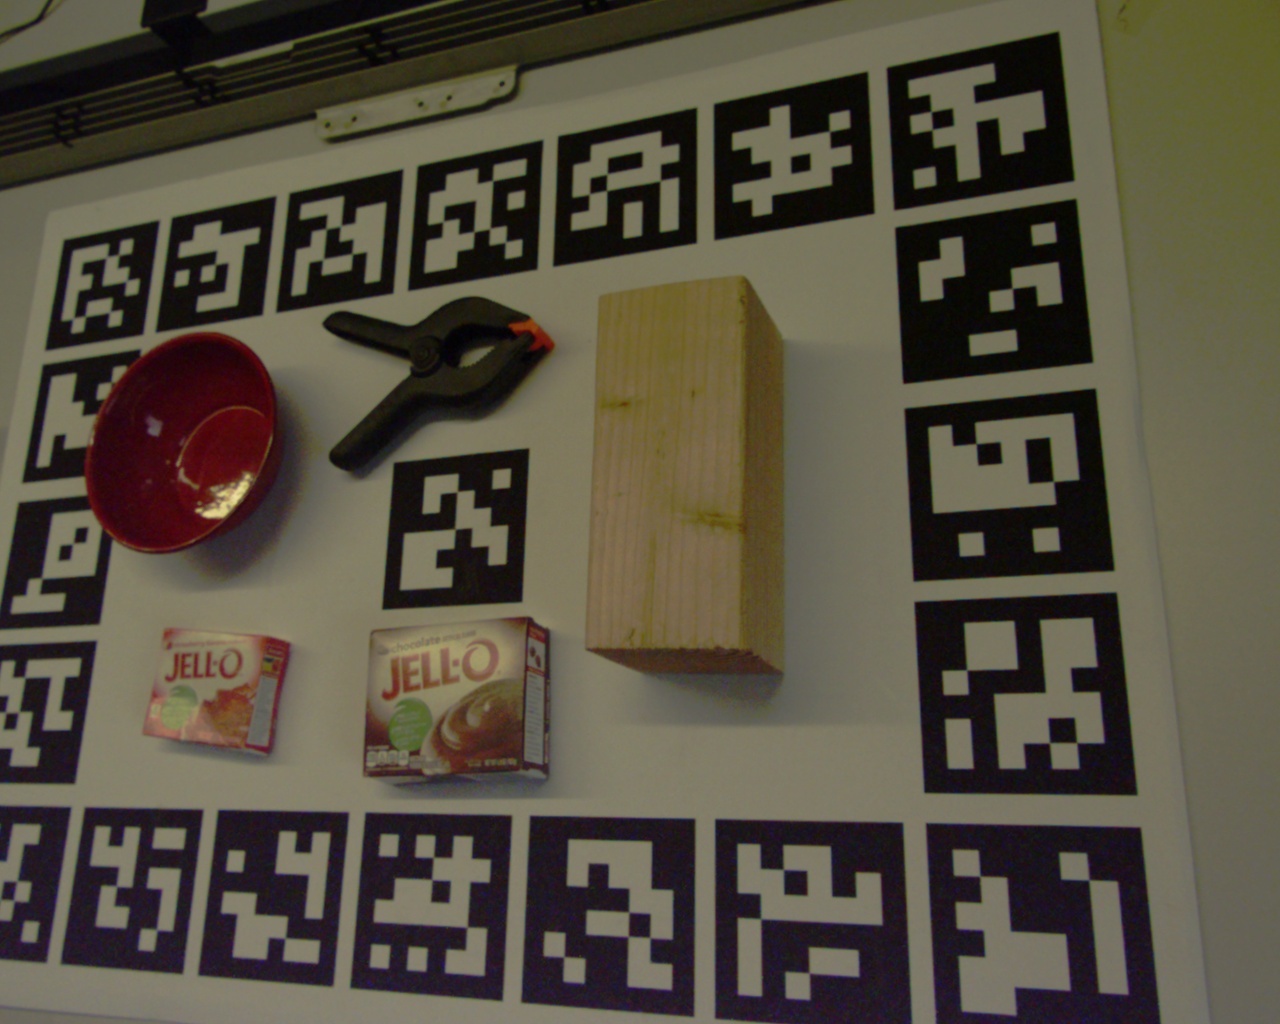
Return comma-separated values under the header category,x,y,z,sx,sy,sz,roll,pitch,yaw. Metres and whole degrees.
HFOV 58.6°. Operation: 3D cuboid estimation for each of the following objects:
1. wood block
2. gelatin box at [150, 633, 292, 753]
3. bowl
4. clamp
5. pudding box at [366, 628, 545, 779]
category,x,y,z,sx,sy,sz,roll,pitch,yaw
wood block,0.026,-0.008,0.673,0.091,0.090,0.206,-2,75,19
gelatin box,-0.292,0.125,0.791,0.090,0.030,0.073,4,78,22
bowl,-0.314,-0.040,0.841,0.163,0.054,0.162,-5,76,19
clamp,-0.158,-0.090,0.806,0.166,0.036,0.122,-15,70,15
pudding box,-0.117,0.122,0.721,0.115,0.038,0.090,-6,77,22
